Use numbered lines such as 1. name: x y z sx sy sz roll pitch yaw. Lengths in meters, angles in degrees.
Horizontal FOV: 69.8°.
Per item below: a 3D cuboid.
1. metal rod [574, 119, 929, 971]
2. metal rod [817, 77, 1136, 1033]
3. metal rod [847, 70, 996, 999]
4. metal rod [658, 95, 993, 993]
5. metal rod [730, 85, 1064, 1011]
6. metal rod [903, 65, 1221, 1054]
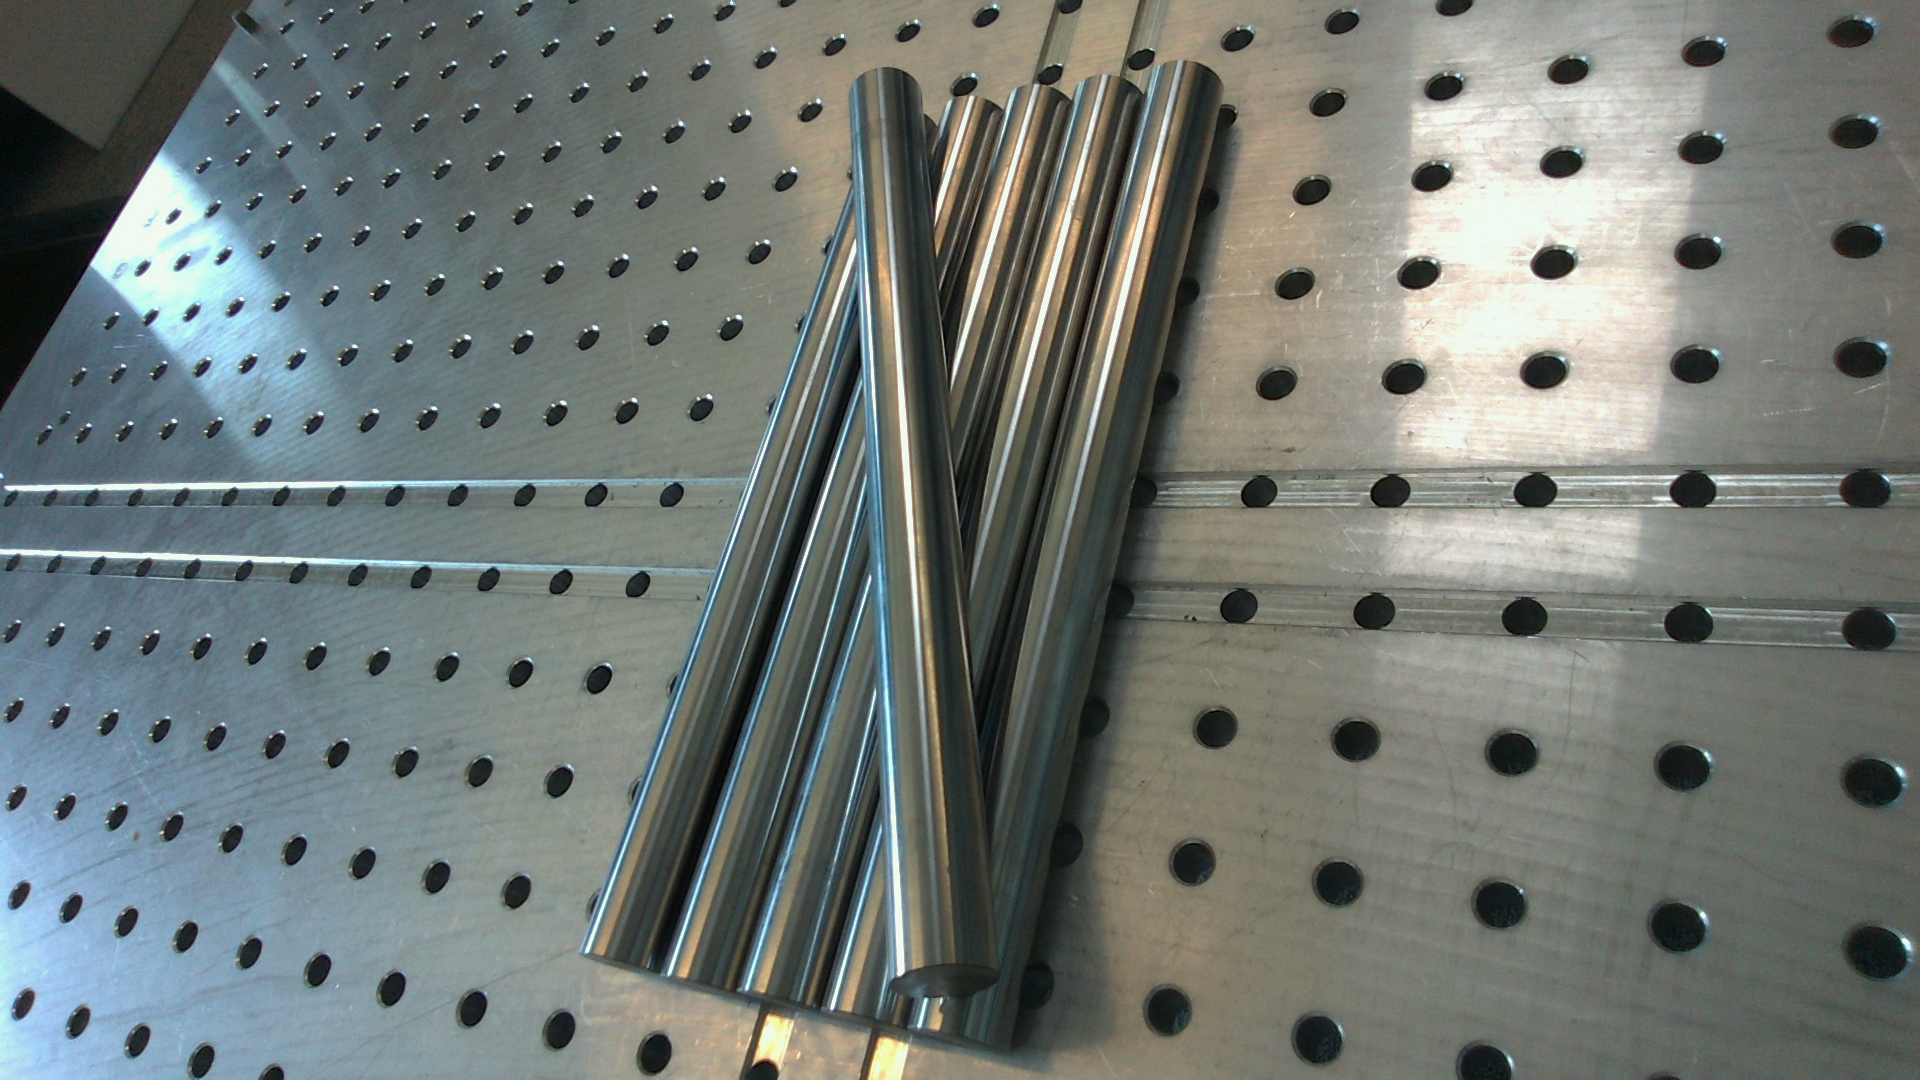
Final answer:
1. metal rod: -0.057 -0.017 0.437 0.025 0.025 0.300 1 62 29
2. metal rod: 0.013 -0.014 0.399 0.025 0.025 0.300 1 62 29
3. metal rod: -0.015 -0.026 0.389 0.025 0.025 0.300 -18 54 18
4. metal rod: -0.031 -0.015 0.422 0.025 0.025 0.300 1 62 29
5. metal rod: -0.010 -0.015 0.410 0.025 0.025 0.300 1 62 29
6. metal rod: 0.036 -0.013 0.387 0.025 0.025 0.300 1 62 29
